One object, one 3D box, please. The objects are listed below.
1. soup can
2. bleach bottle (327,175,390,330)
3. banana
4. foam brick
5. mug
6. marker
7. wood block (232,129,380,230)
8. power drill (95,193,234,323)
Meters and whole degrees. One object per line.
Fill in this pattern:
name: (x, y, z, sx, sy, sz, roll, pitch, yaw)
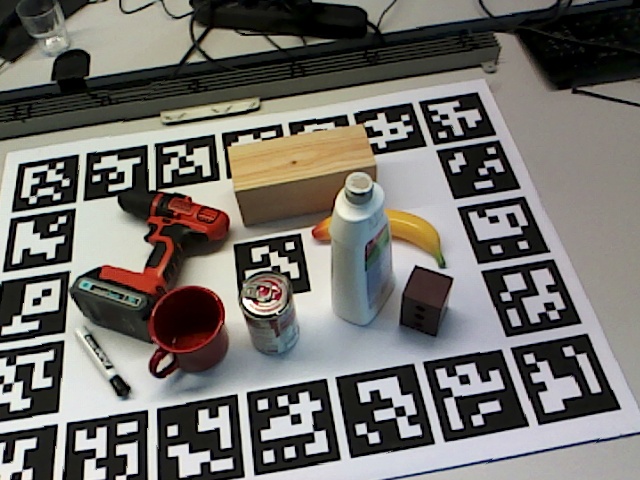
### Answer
soup can: (-0.068, 0.092, 0.789, 0.068, 0.102, 0.068, -2, 50, 2)
bleach bottle: (0.047, 0.009, 0.755, 0.068, 0.250, 0.102, 16, 56, 15)
banana: (0.073, -0.020, 0.900, 0.197, 0.039, 0.074, 5, 69, 6)
foam brick: (0.137, 0.085, 0.801, 0.053, 0.078, 0.051, 19, 56, 19)
mug: (-0.173, 0.121, 0.795, 0.094, 0.081, 0.117, 29, 65, 20)
marker: (-0.285, 0.160, 0.819, 0.019, 0.019, 0.122, -35, 60, -16)
wood block: (-0.021, -0.092, 0.932, 0.206, 0.090, 0.090, -10, 56, -2)
power drill: (-0.240, 0.021, 0.894, 0.185, 0.057, 0.187, 17, 56, 12)
